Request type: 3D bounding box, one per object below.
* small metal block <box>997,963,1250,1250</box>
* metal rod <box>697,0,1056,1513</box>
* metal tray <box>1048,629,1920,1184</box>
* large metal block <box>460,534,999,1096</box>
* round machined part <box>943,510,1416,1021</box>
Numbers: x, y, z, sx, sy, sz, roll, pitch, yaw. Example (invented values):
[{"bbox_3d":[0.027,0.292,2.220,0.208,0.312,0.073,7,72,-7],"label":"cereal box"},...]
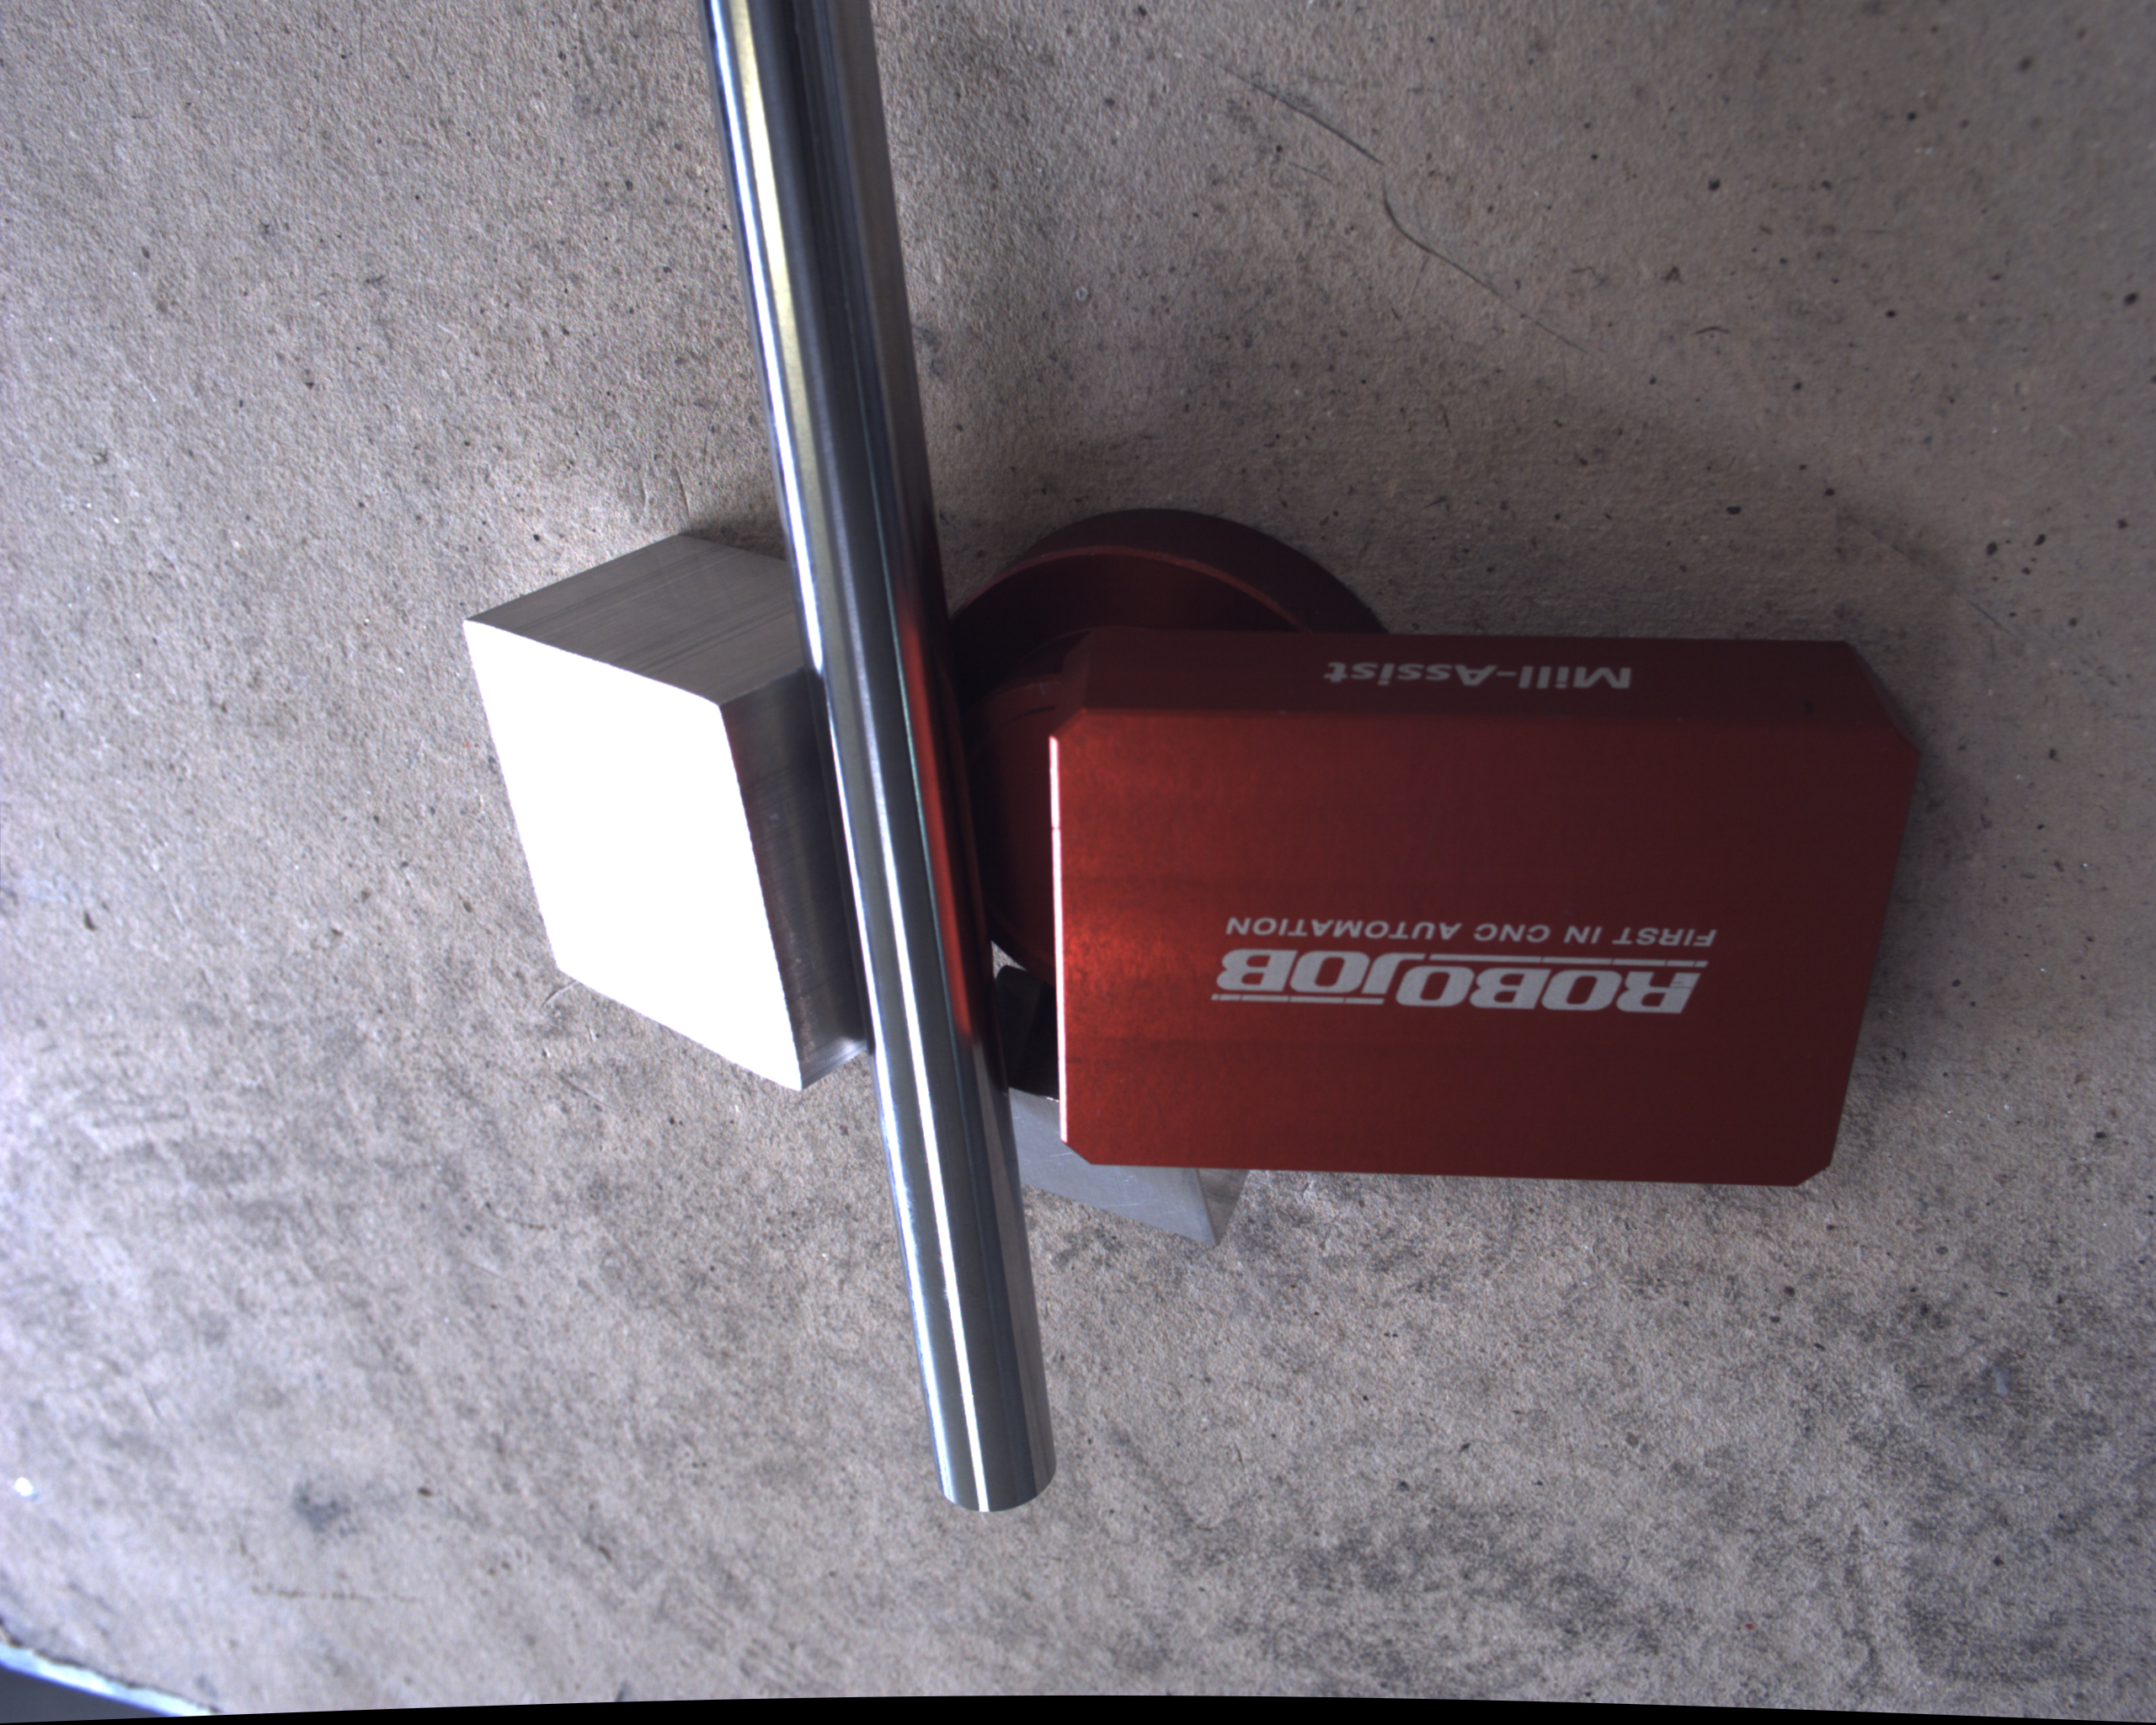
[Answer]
[{"bbox_3d":[0.007,0.050,0.423,0.050,0.025,0.050,15,150,20],"label":"small metal block"},{"bbox_3d":[-0.030,-0.006,0.366,0.025,0.025,0.298,7,120,24],"label":"metal rod"},{"bbox_3d":[0.062,0.008,0.349,0.131,0.030,0.089,1,122,4],"label":"metal tray"},{"bbox_3d":[-0.067,-0.012,0.405,0.080,0.050,0.079,19,128,39],"label":"large metal block"},{"bbox_3d":[0.013,-0.011,0.383,0.098,0.042,0.097,13,124,21],"label":"round machined part"}]
